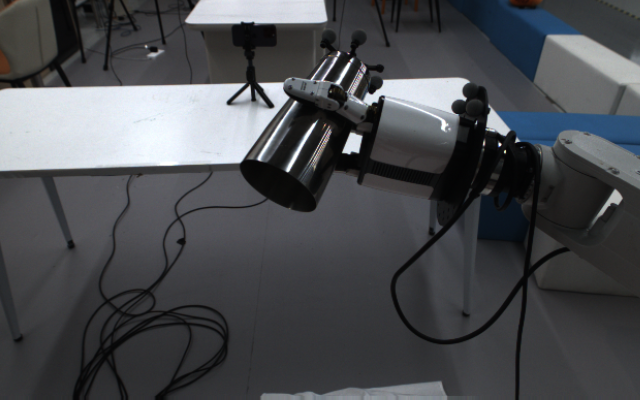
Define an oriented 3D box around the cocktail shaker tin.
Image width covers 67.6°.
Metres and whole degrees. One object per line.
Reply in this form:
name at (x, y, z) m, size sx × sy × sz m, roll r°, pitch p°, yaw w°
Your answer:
cocktail shaker tin at (-0.004, -0.085, 0.536) m, size 0.093 × 0.093 × 0.170 m, roll 18°, pitch 66°, yaw 21°
